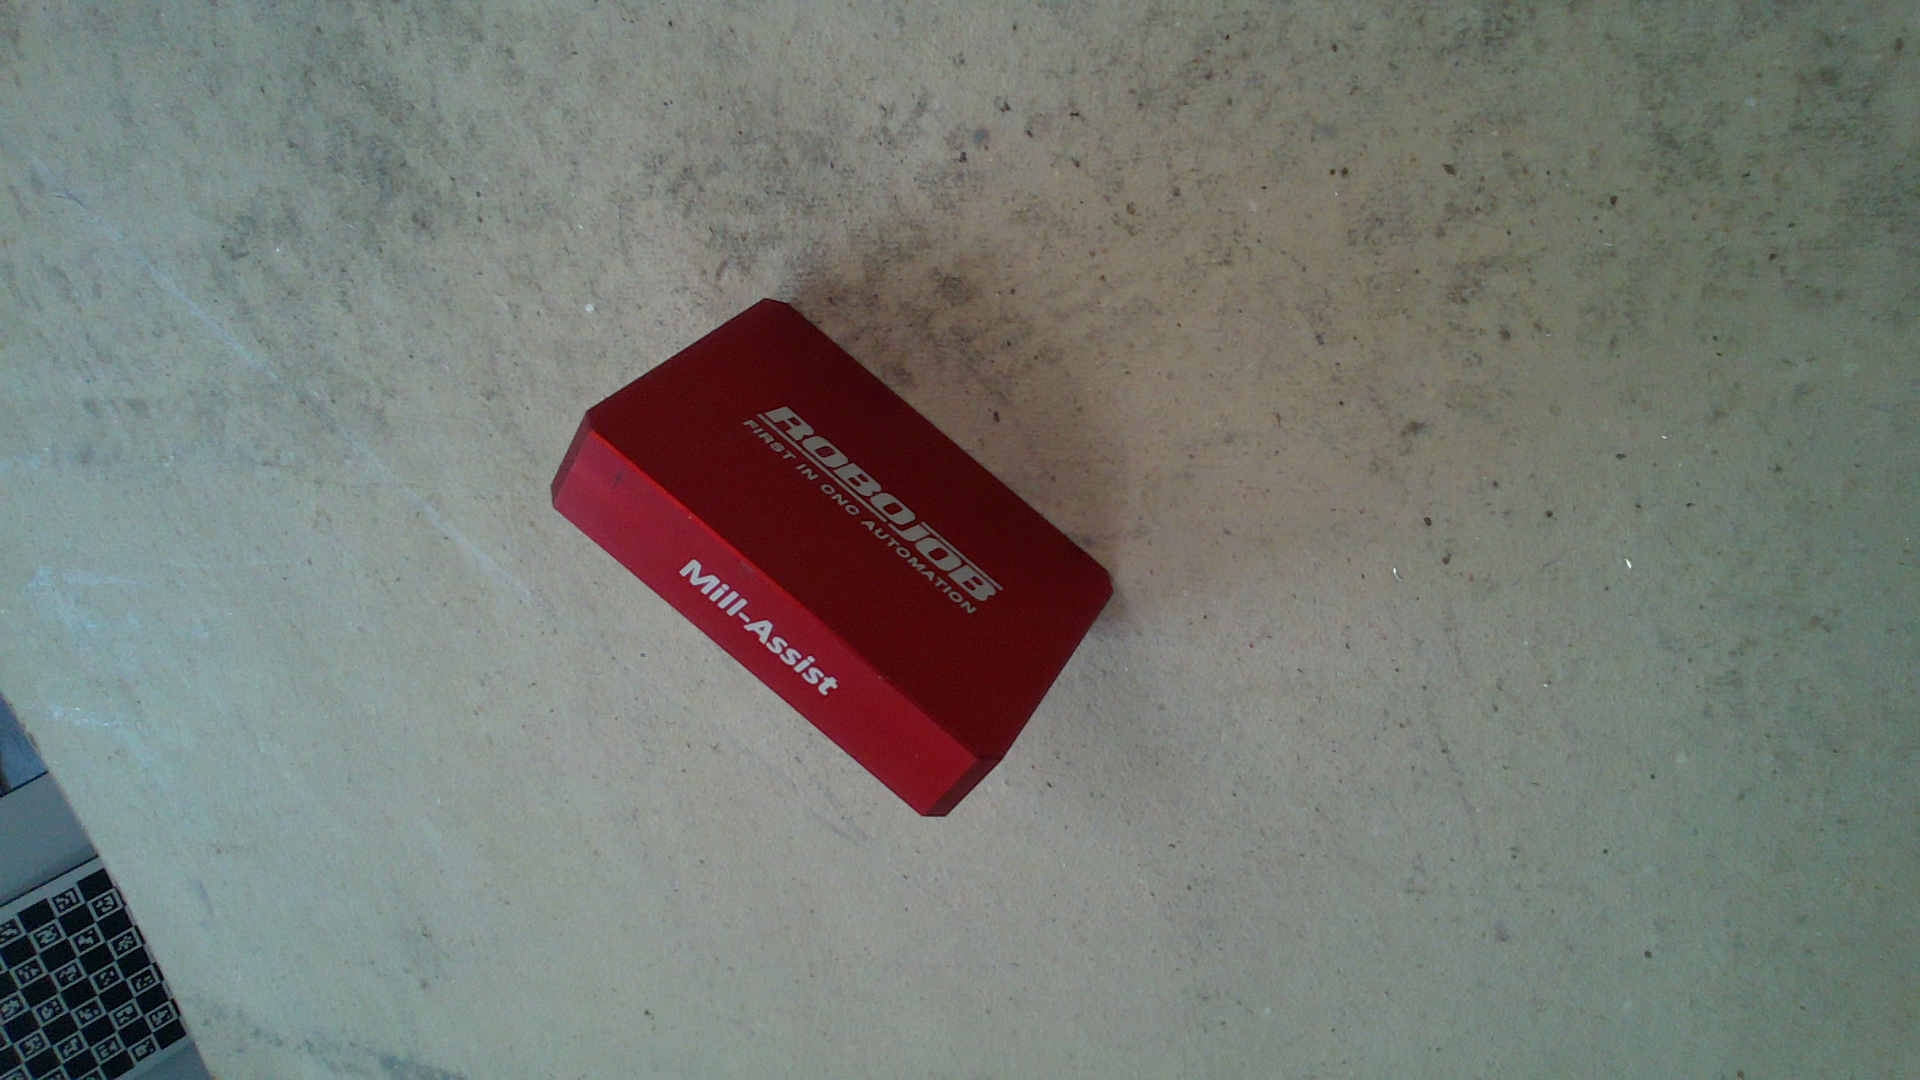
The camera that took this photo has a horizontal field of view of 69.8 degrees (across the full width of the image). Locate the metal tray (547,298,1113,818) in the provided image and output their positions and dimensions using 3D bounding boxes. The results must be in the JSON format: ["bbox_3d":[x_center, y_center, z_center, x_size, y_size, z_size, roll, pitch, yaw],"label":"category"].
[{"bbox_3d":[-0.030,0.000,0.367,0.130,0.090,0.030,40,129,1],"label":"metal tray"}]
